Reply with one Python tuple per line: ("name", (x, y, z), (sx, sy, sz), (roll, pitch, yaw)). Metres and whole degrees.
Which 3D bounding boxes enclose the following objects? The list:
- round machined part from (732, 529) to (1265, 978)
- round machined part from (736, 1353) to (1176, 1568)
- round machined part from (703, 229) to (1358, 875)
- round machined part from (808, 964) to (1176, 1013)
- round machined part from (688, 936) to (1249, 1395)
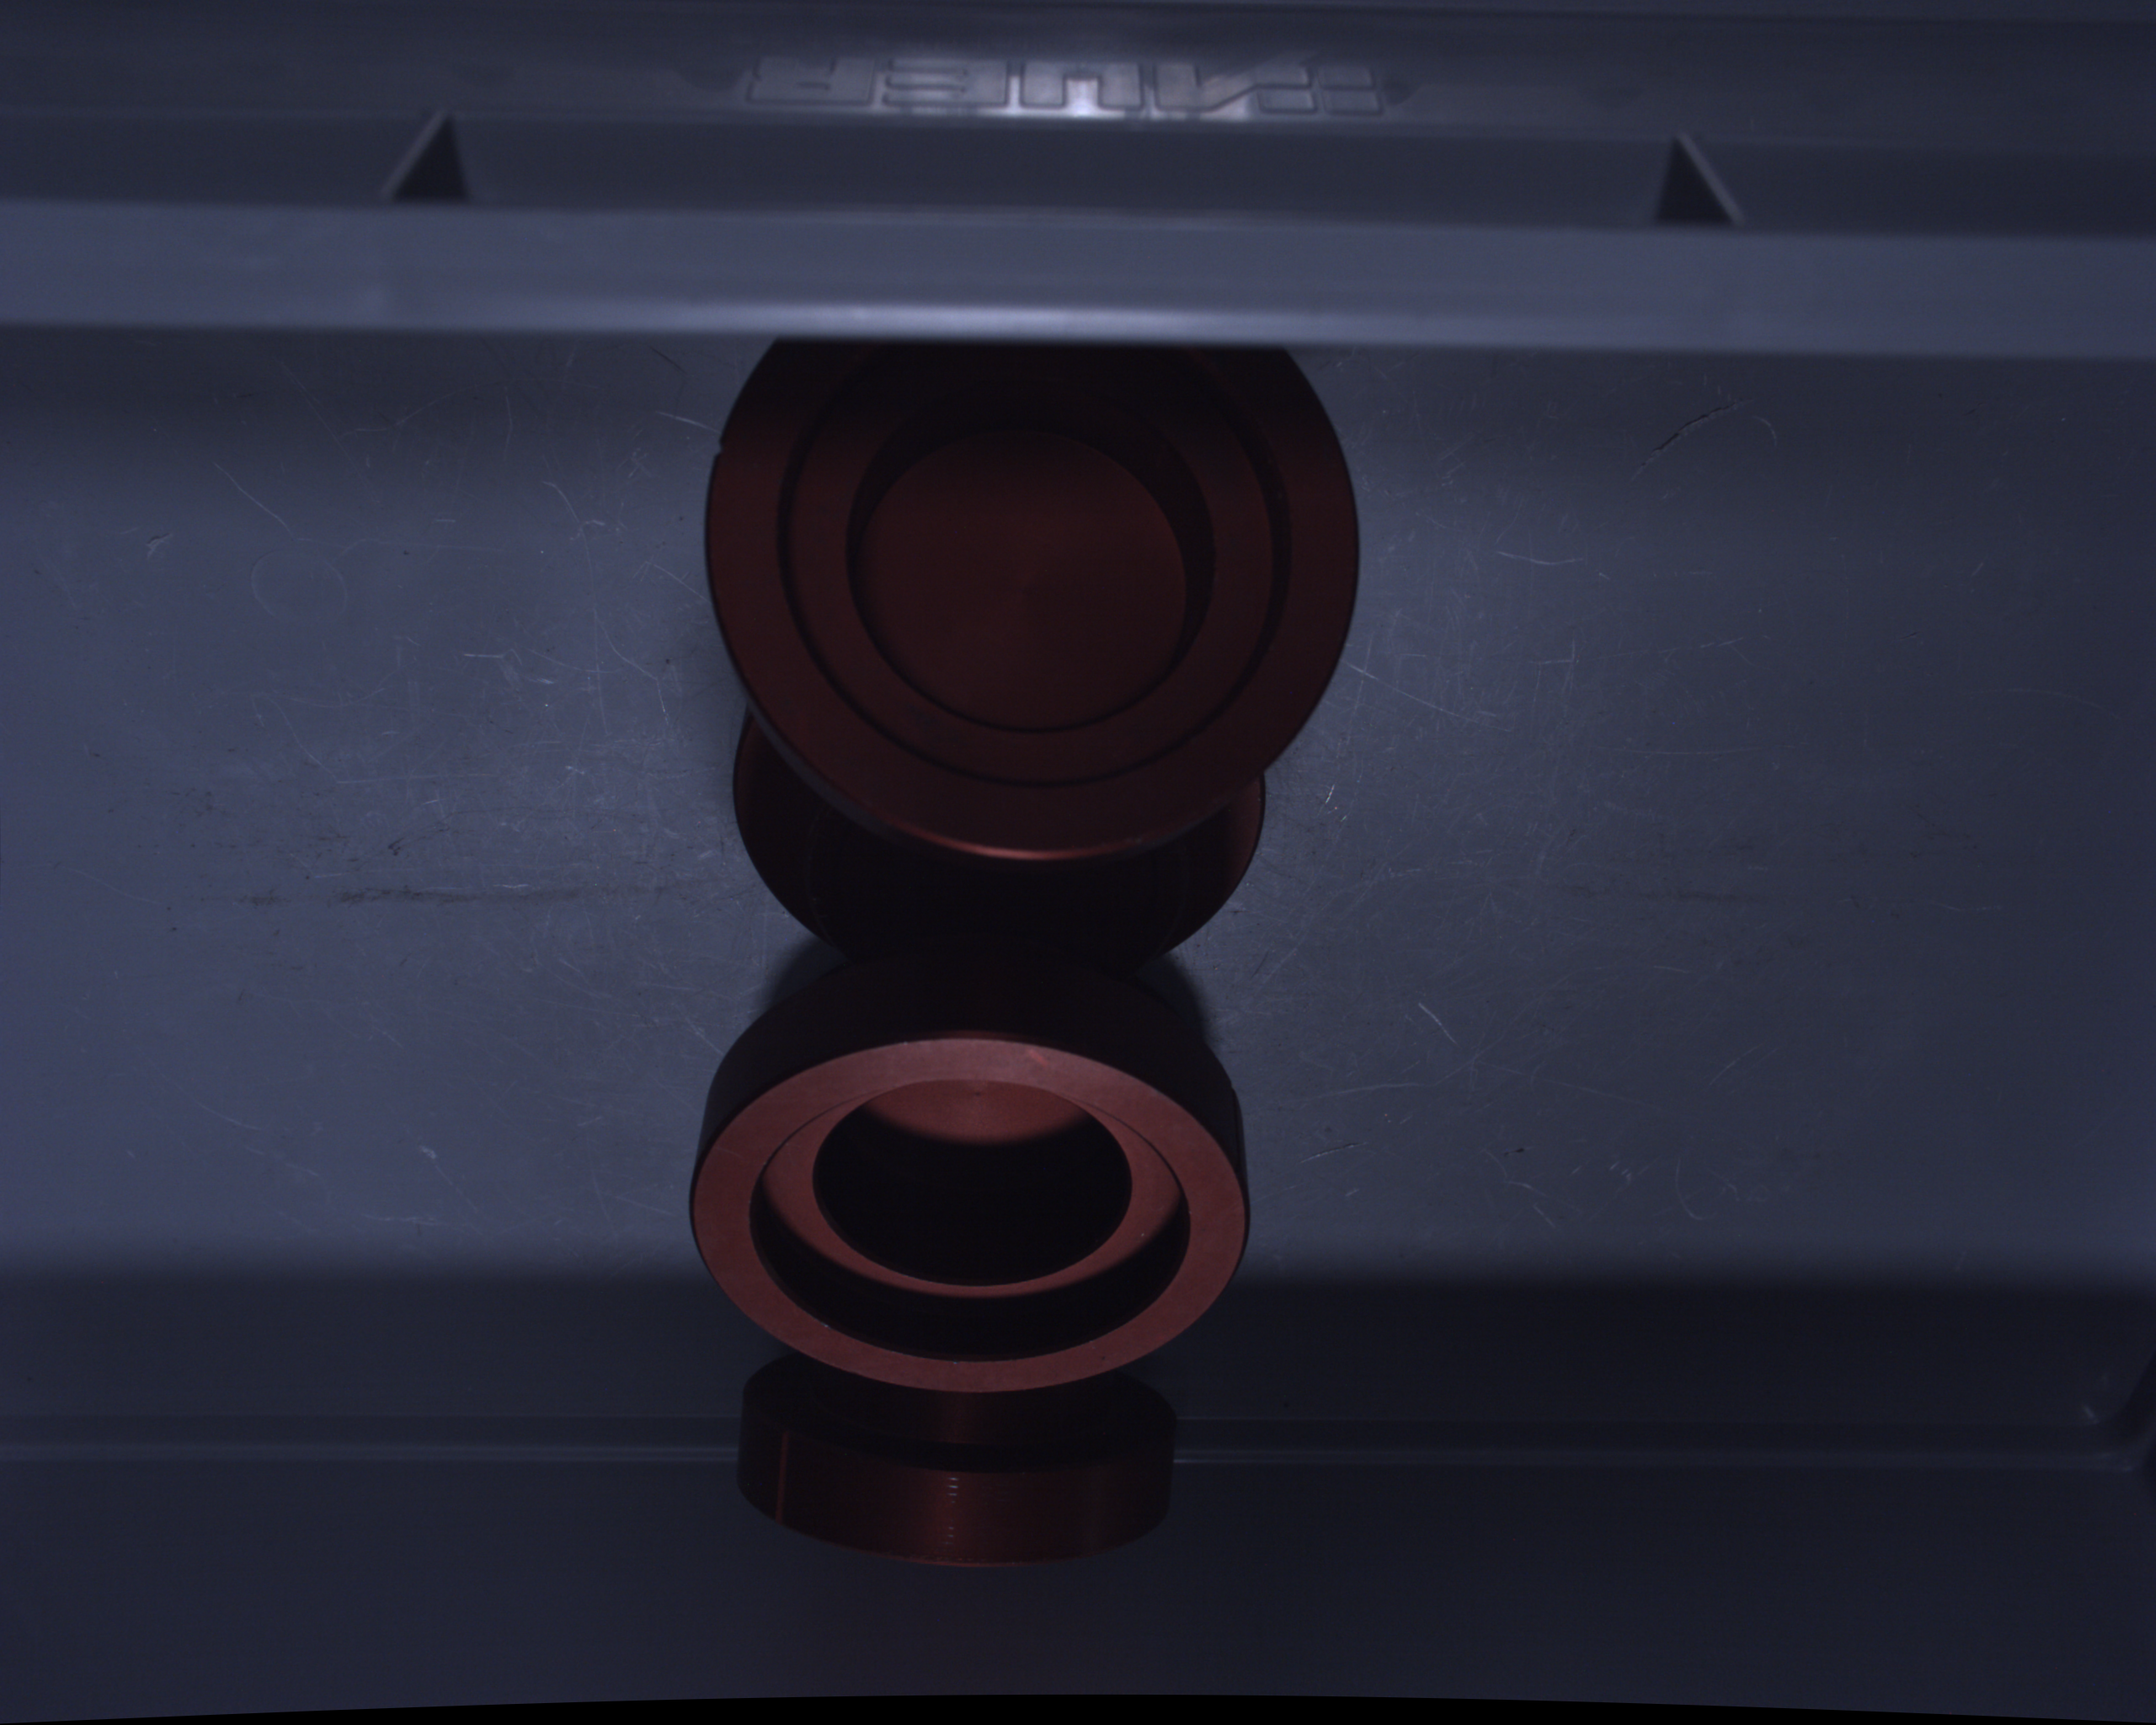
("round machined part", (-0.015, -0.010, 0.387), (0.099, 0.042, 0.097), (-1, 130, 0))
("round machined part", (-0.027, 0.122, 0.476), (0.099, 0.098, 0.042), (5, 93, -5))
("round machined part", (-0.008, -0.046, 0.332), (0.099, 0.097, 0.042), (5, 172, -5))
("round machined part", (-0.021, 0.064, 0.450), (0.099, 0.042, 0.097), (-1, 130, 0))
("round machined part", (-0.019, 0.052, 0.383), (0.099, 0.042, 0.097), (-1, 130, 0))
